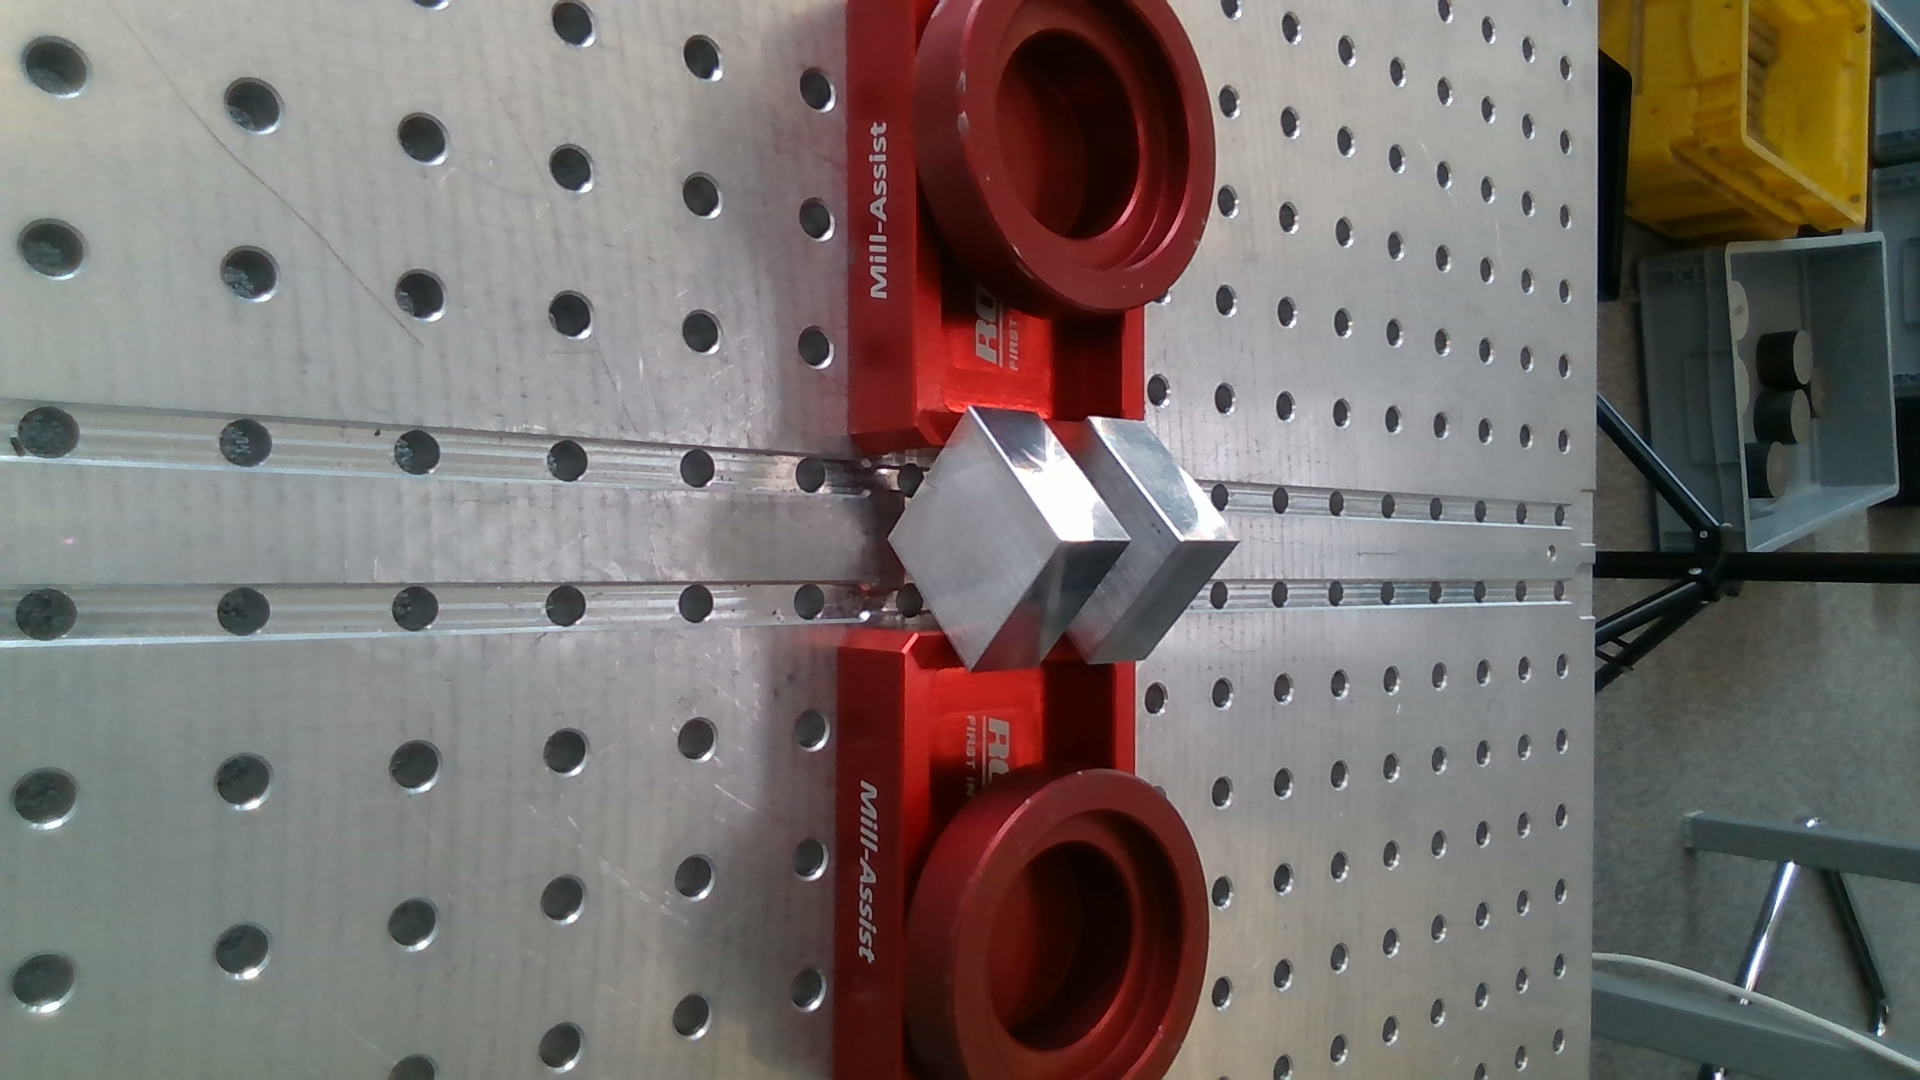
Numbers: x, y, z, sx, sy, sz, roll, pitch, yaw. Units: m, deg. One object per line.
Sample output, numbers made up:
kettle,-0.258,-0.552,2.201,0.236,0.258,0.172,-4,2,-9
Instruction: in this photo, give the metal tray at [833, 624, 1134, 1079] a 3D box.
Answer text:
metal tray,0.009,0.090,0.400,0.090,0.030,0.130,1,90,-40

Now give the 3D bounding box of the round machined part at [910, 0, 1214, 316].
round machined part,0.024,-0.112,0.387,0.098,0.042,0.098,0,90,-40

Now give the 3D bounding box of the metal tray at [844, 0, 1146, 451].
metal tray,0.012,-0.091,0.402,0.090,0.030,0.130,-1,91,-38

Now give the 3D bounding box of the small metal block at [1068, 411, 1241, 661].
small metal block,0.045,-0.001,0.397,0.025,0.050,0.050,1,45,-40

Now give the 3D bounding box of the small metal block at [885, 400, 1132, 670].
small metal block,0.011,-0.001,0.368,0.025,0.050,0.050,1,45,-40

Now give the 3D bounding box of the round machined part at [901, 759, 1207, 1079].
round machined part,0.022,0.110,0.386,0.098,0.042,0.098,0,90,-40
